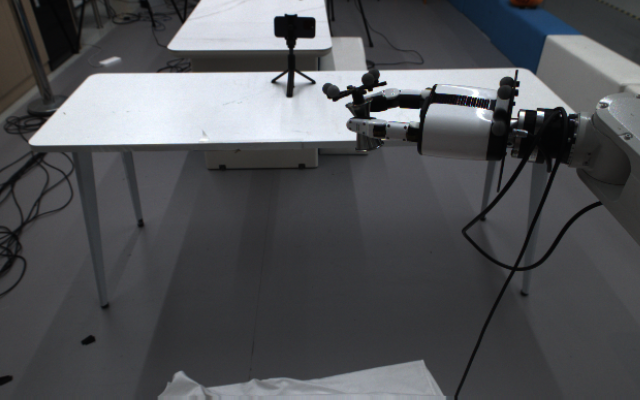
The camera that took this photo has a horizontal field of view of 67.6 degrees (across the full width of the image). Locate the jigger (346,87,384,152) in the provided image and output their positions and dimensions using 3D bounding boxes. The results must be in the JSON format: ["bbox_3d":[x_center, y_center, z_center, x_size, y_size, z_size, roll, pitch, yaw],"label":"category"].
[{"bbox_3d":[0.065,-0.109,0.698,0.043,0.071,0.043,-14,21,6],"label":"jigger"}]
